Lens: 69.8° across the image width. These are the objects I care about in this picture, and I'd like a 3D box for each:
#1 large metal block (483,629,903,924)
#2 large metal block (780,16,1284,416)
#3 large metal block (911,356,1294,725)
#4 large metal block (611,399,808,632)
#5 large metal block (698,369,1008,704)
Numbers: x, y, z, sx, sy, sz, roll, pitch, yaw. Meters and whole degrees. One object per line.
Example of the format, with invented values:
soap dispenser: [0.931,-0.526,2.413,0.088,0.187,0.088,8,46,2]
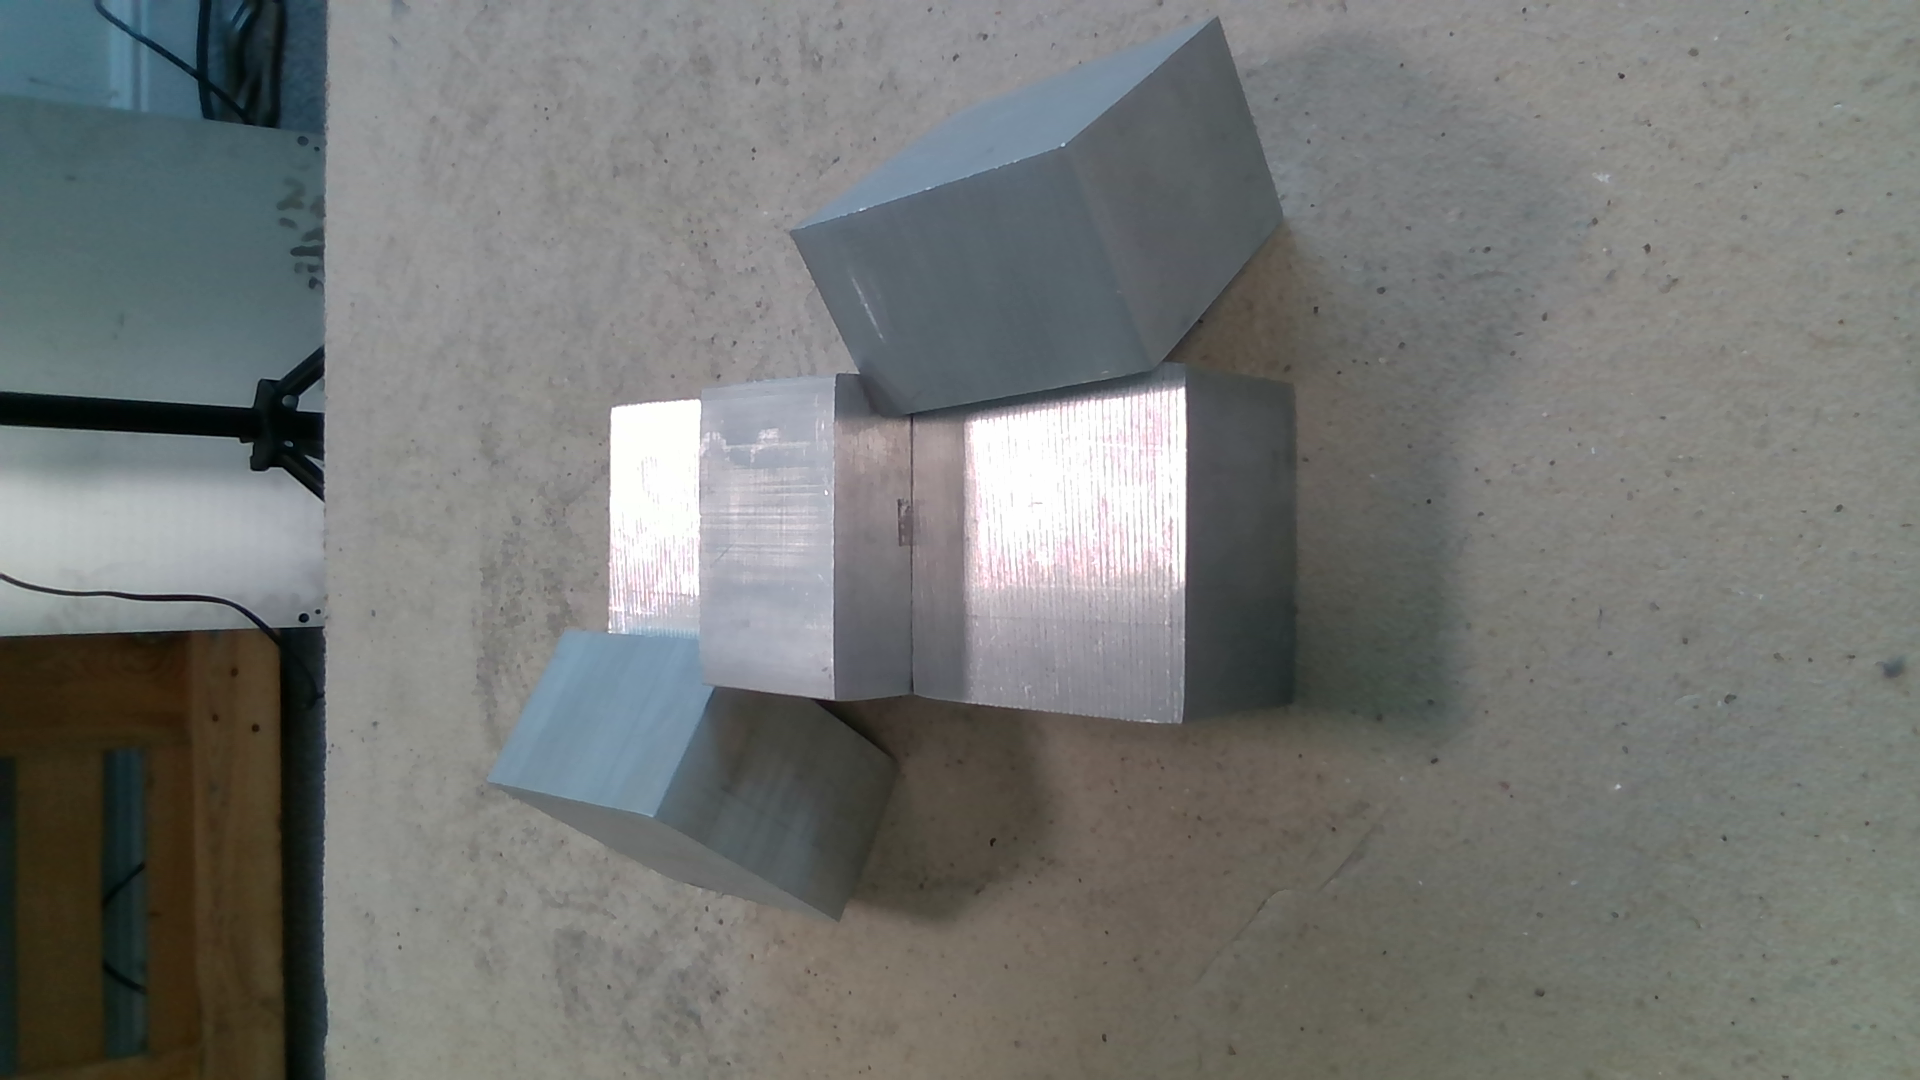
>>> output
large metal block: [-0.079,0.070,0.413,0.080,0.080,0.050,0,59,40]
large metal block: [0.019,-0.076,0.329,0.080,0.080,0.050,-5,121,40]
large metal block: [0.035,0.000,0.343,0.080,0.050,0.080,1,90,40]
large metal block: [-0.064,-0.002,0.429,0.080,0.050,0.080,1,91,41]
large metal block: [-0.024,-0.001,0.375,0.050,0.080,0.080,1,91,40]
